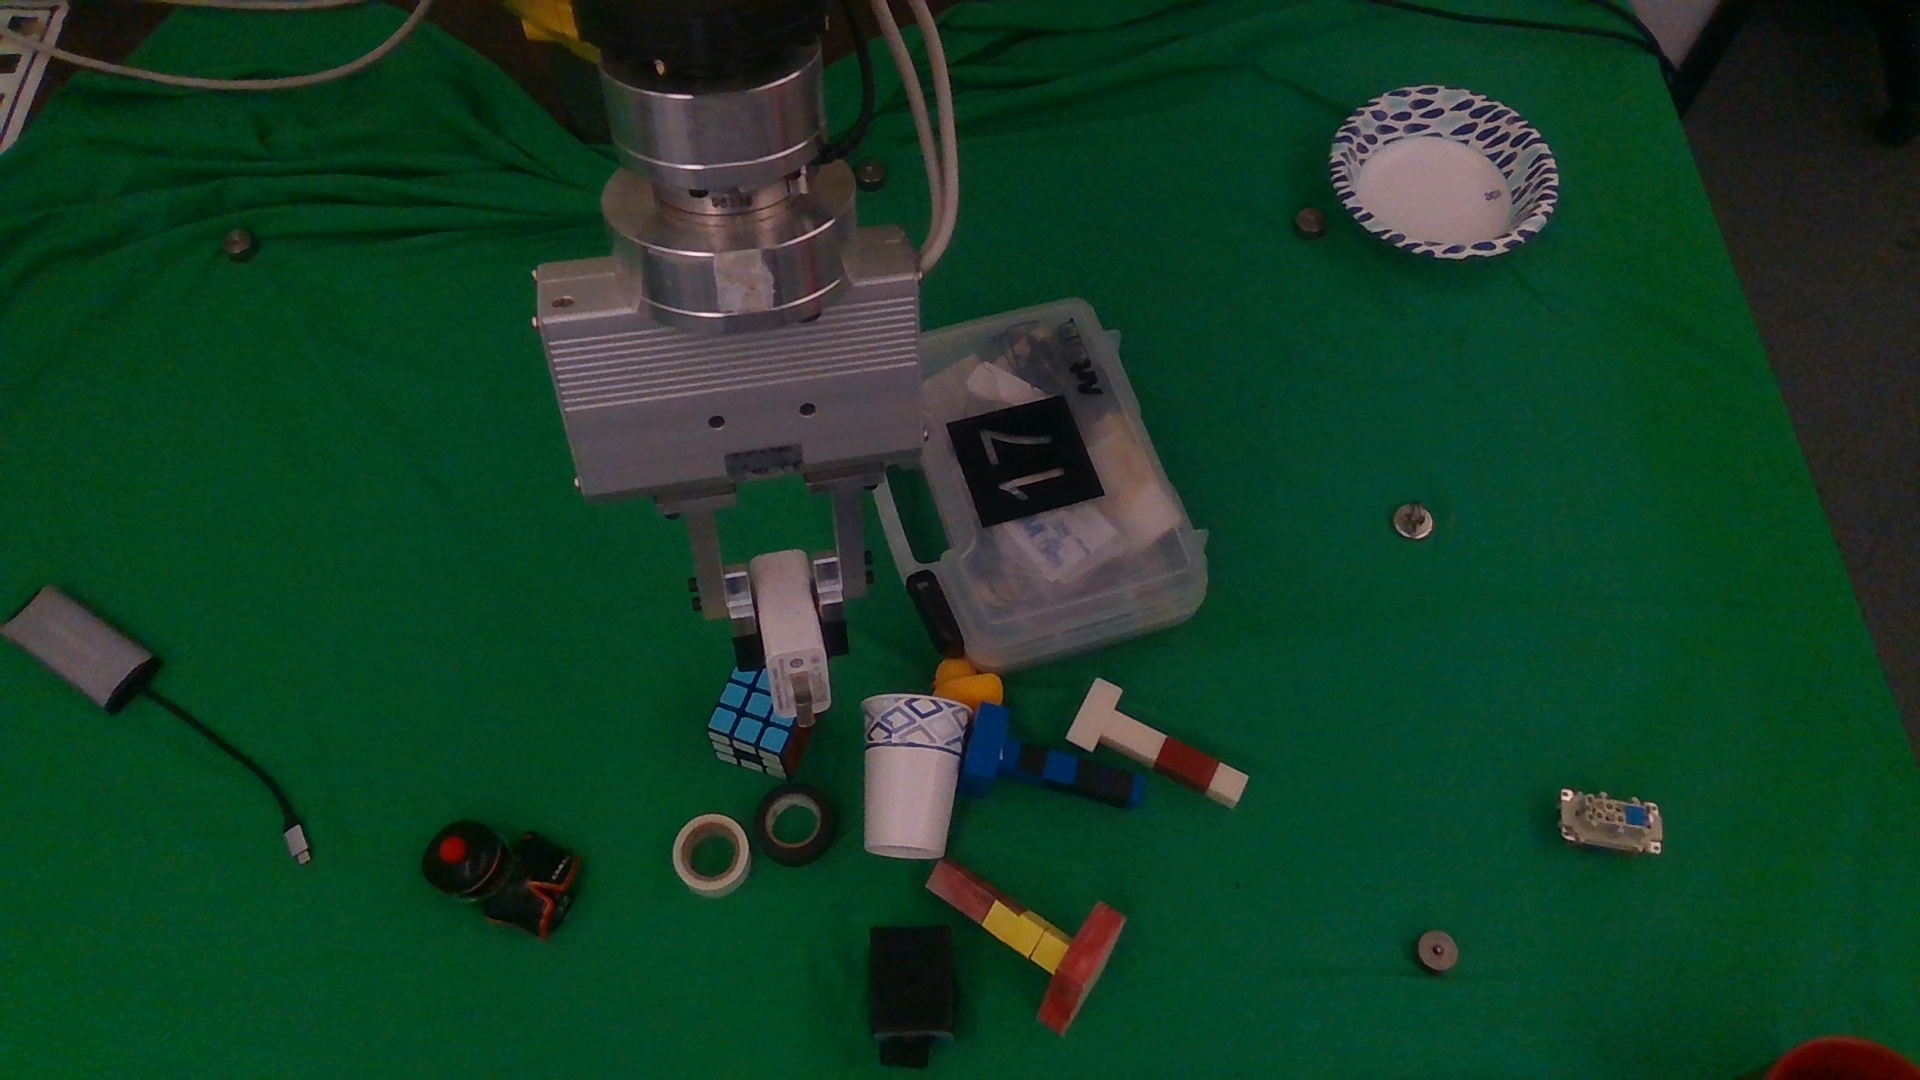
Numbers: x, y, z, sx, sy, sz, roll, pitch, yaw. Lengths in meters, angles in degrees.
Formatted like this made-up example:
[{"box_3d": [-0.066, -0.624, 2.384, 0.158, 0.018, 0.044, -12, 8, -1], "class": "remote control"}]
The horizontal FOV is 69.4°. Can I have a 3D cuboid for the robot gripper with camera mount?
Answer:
[{"box_3d": [-0.080, -0.053, 0.556, 0.119, 0.158, 0.193, -6, 37, -4], "class": "robot gripper with camera mount"}]

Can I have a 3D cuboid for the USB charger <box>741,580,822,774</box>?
[{"box_3d": [-0.068, 0.054, 0.528, 0.029, 0.044, 0.075, -8, 45, -6], "class": "USB charger"}]
